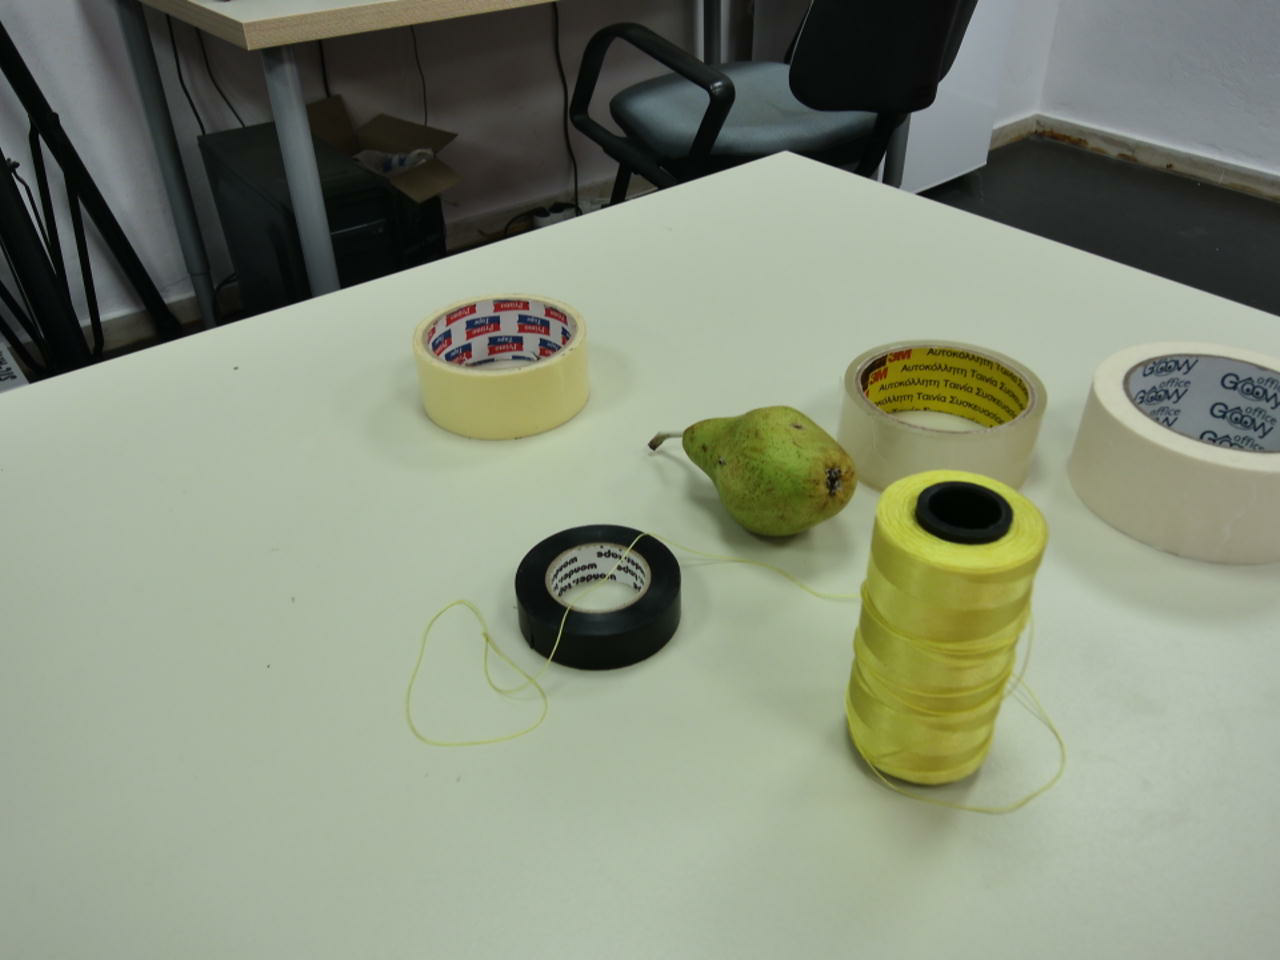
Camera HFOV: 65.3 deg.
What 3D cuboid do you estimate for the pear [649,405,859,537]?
[{"bbox_3d":[0.052,-0.014,0.449,0.056,0.056,0.111,-13,37,-18],"label":"pear"}]
